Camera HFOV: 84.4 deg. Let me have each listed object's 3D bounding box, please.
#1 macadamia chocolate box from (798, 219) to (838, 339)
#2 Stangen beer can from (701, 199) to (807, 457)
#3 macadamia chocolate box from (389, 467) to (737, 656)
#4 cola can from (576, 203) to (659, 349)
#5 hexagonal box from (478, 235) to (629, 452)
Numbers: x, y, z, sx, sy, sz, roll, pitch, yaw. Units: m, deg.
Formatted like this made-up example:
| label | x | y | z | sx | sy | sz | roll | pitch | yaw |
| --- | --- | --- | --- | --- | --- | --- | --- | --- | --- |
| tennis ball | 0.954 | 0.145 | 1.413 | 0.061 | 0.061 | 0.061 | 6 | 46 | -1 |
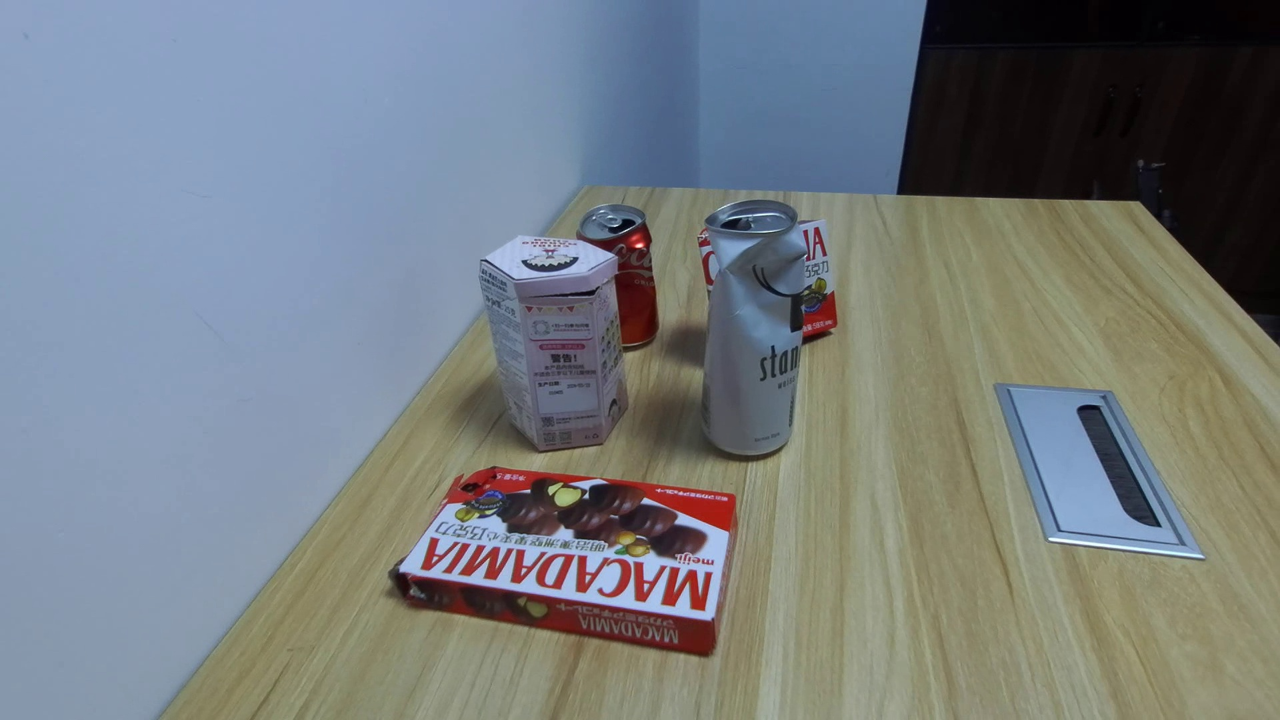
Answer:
| label | x | y | z | sx | sy | sz | roll | pitch | yaw |
| --- | --- | --- | --- | --- | --- | --- | --- | --- | --- |
| macadamia chocolate box | 0.102 | -0.062 | 0.572 | 0.127 | 0.112 | 0.056 | -19 | 35 | -21 |
| Stangen beer can | 0.071 | -0.016 | 0.461 | 0.066 | 0.166 | 0.065 | -15 | 35 | -13 |
| macadamia chocolate box | -0.041 | 0.108 | 0.414 | 0.186 | 0.027 | 0.103 | 5 | 32 | 12 |
| cola can | -0.017 | -0.071 | 0.599 | 0.065 | 0.113 | 0.069 | -8 | 35 | -4 |
| hexagonal box | -0.056 | -0.013 | 0.496 | 0.092 | 0.135 | 0.085 | -6 | 33 | -2 |
